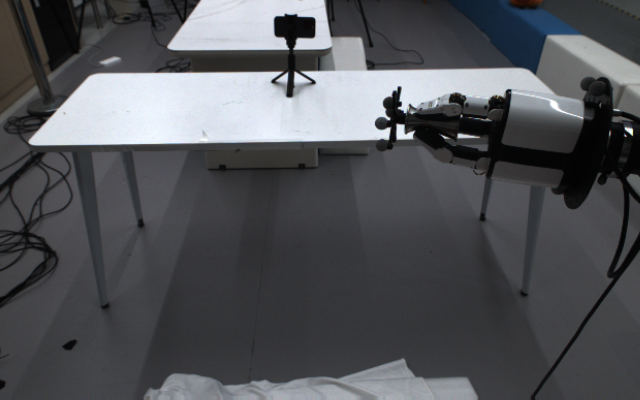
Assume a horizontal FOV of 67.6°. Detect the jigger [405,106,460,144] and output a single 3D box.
[{"bbox_3d":[0.155,-0.107,0.637,0.071,0.043,0.043,10,35,15],"label":"jigger"}]
